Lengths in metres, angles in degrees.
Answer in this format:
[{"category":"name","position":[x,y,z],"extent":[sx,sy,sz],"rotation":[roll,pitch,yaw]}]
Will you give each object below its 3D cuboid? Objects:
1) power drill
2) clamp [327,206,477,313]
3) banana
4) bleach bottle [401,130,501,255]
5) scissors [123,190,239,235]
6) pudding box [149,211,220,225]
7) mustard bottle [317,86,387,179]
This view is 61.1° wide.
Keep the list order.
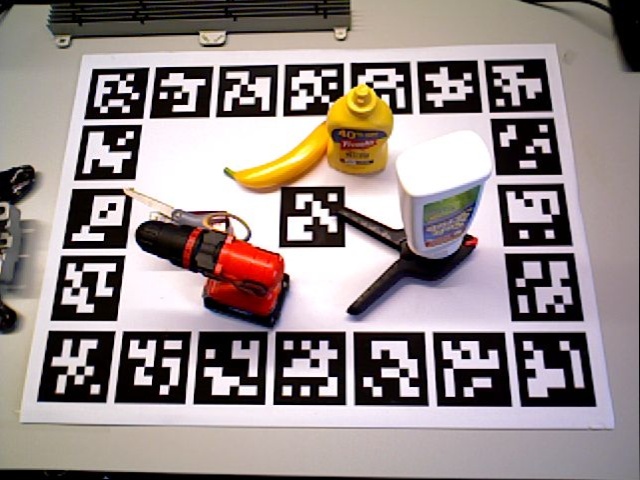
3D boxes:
[{"category":"power drill","position":[-0.138,0.047,0.674],"extent":[0.184,0.190,0.056],"rotation":[11,64,9]},{"category":"clamp","position":[0.119,0.012,0.767],"extent":[0.202,0.037,0.164],"rotation":[-7,74,-1]},{"category":"banana","position":[-0.062,-0.143,0.835],"extent":[0.196,0.039,0.074],"rotation":[-39,57,-9]},{"category":"bleach bottle","position":[0.152,-0.040,0.671],"extent":[0.102,0.253,0.067],"rotation":[-20,67,2]},{"category":"scissors","position":[-0.205,-0.034,0.718],"extent":[0.202,0.016,0.087],"rotation":[24,79,5]},{"category":"pudding box","position":[-0.195,-0.005,0.776],"extent":[0.113,0.091,0.038],"rotation":[3,64,3]},{"category":"mustard bottle","position":[0.044,-0.154,0.764],"extent":[0.096,0.194,0.058],"rotation":[13,71,5]}]
